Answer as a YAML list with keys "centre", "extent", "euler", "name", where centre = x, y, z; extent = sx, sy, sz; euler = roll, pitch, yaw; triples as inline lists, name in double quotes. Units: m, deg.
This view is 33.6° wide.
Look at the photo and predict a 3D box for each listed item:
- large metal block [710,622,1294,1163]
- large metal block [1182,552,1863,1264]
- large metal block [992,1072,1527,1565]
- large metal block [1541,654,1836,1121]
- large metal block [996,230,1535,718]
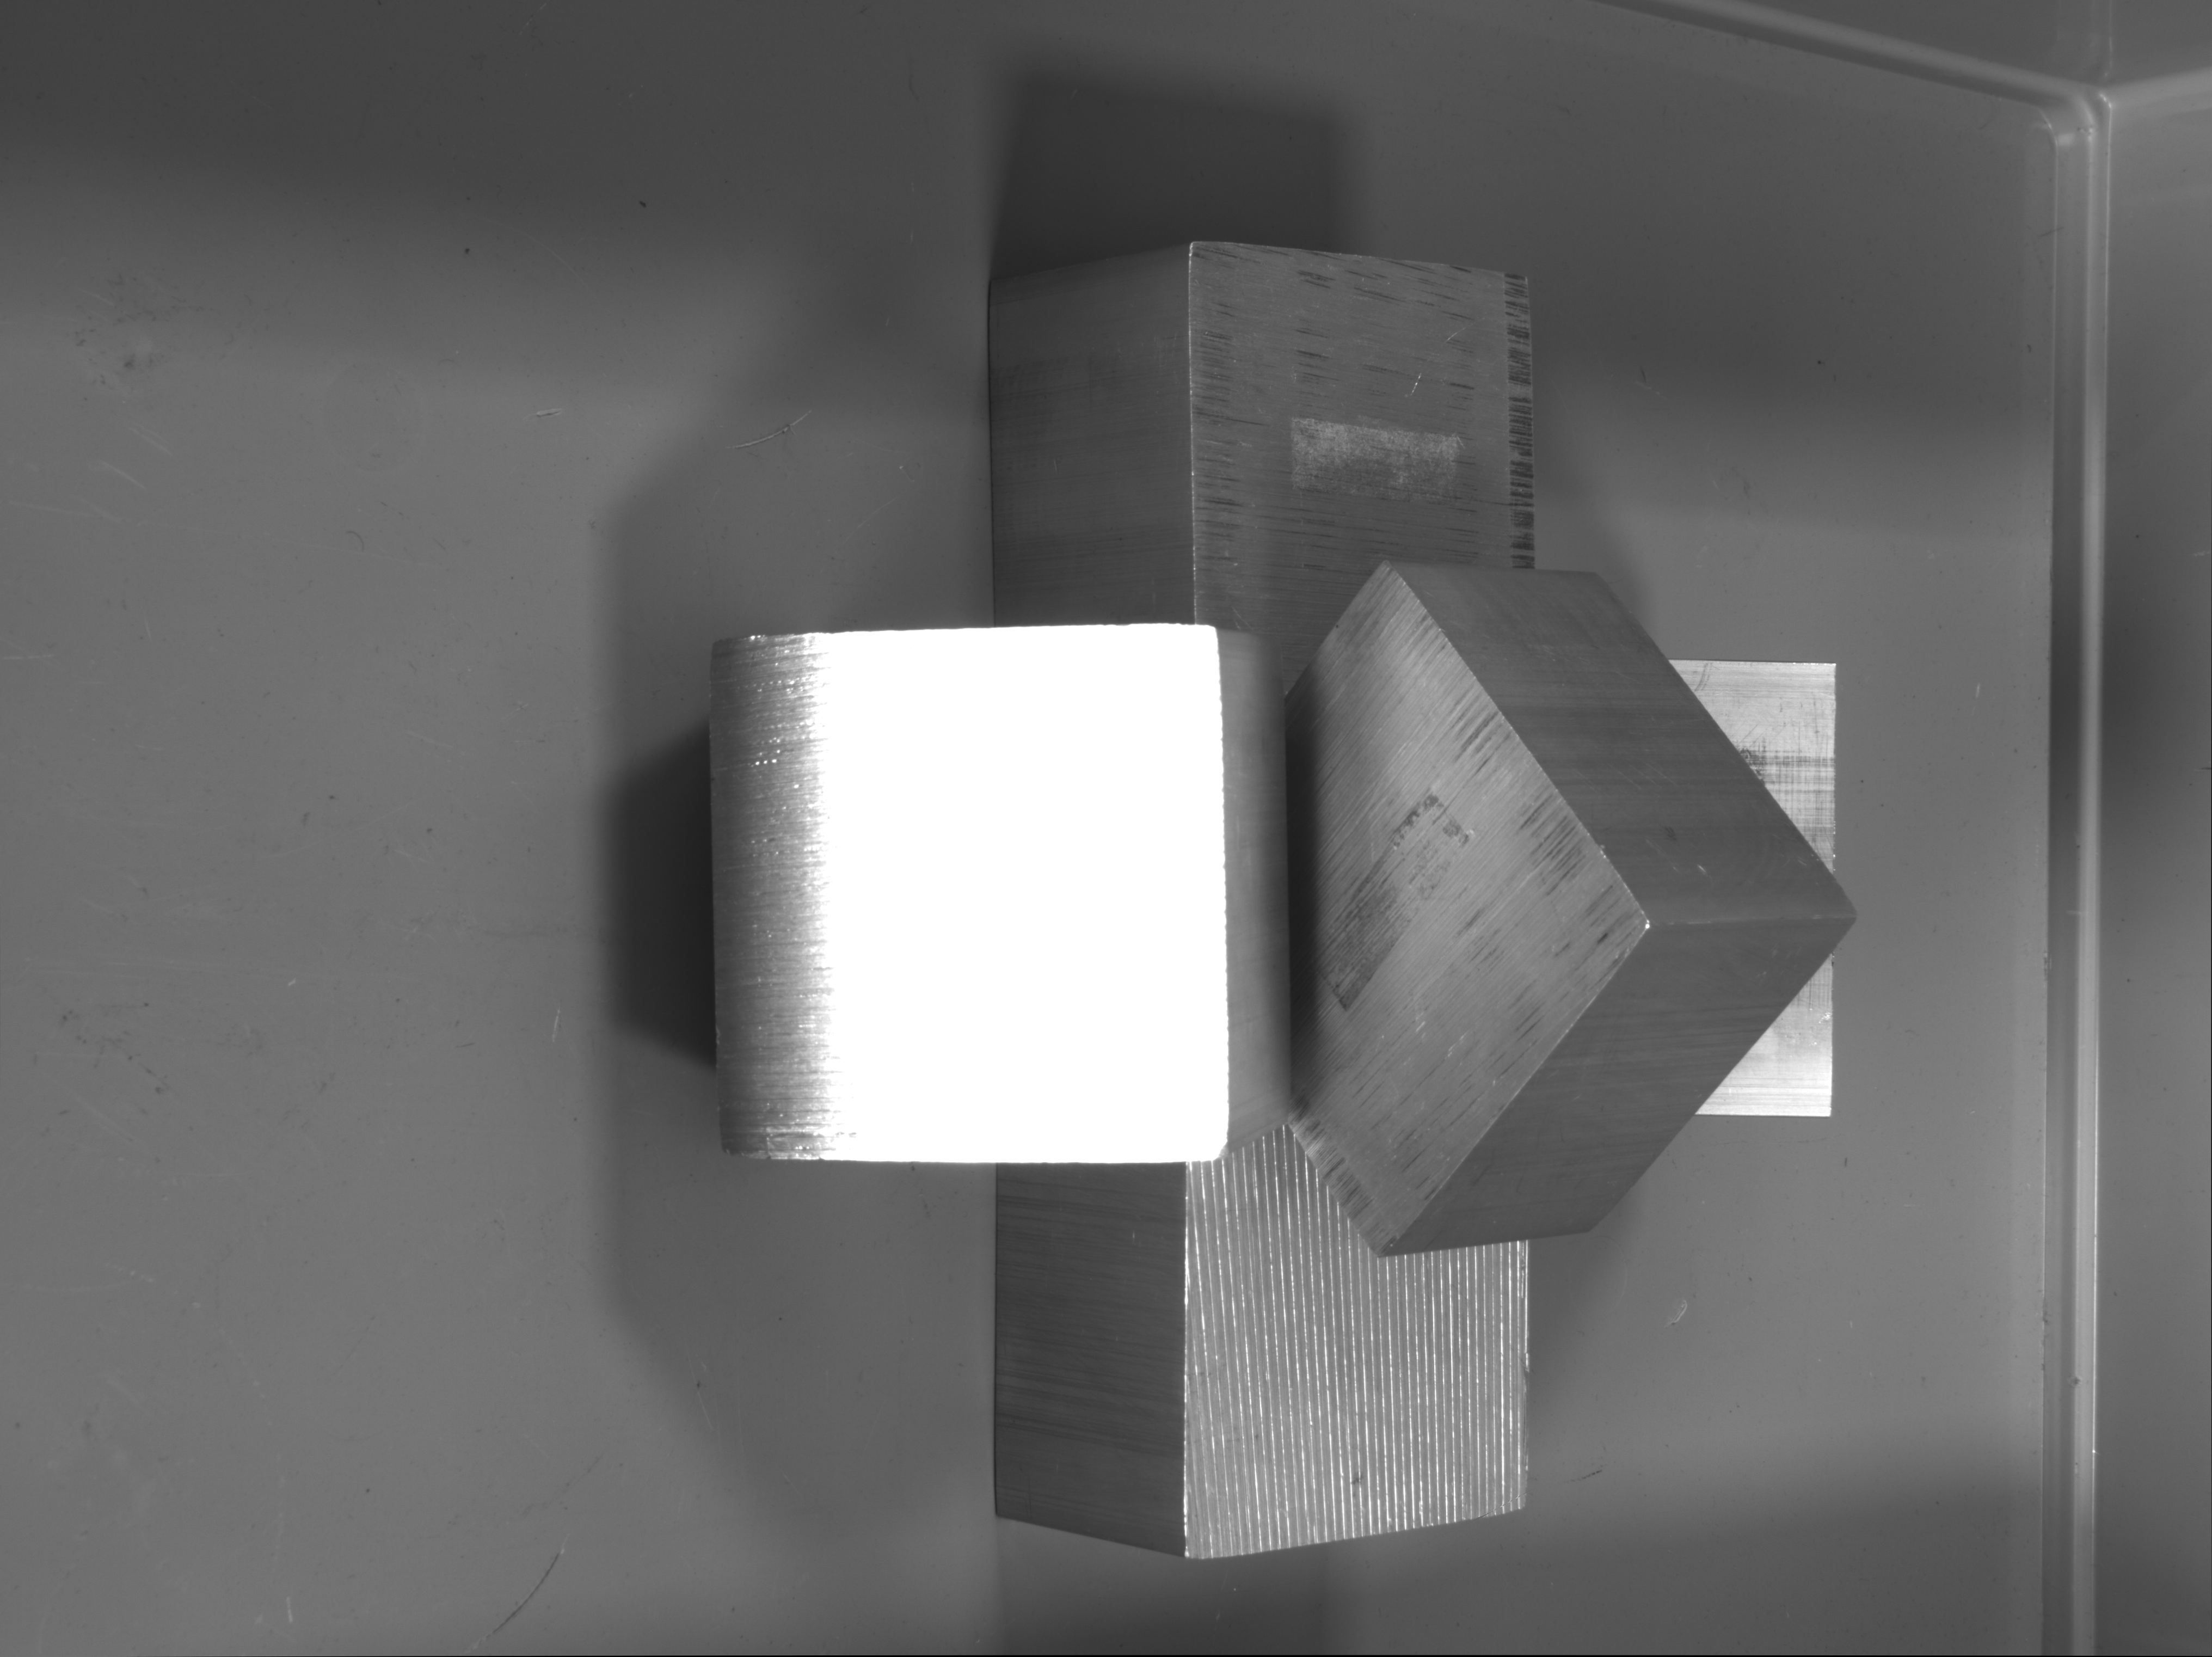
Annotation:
- centre: [-0.015, 0.009, 0.576]
  extent: [0.050, 0.080, 0.080]
  euler: [-5, 94, -76]
  name: "large metal block"
- centre: [0.063, 0.012, 0.599]
  extent: [0.050, 0.080, 0.080]
  euler: [-1, 47, -41]
  name: "large metal block"
- centre: [0.028, 0.080, 0.641]
  extent: [0.080, 0.050, 0.080]
  euler: [1, 89, -40]
  name: "large metal block"
- centre: [0.100, 0.010, 0.673]
  extent: [0.050, 0.080, 0.080]
  euler: [1, 90, -1]
  name: "large metal block"
- centre: [0.029, -0.058, 0.639]
  extent: [0.080, 0.050, 0.080]
  euler: [-2, 91, -40]
  name: "large metal block"
